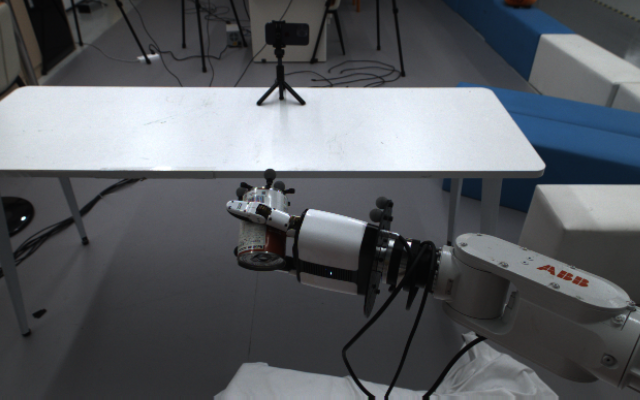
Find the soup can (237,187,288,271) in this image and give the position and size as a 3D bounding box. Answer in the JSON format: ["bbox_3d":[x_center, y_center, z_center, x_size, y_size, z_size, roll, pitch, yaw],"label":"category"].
[{"bbox_3d":[-0.078,0.041,0.679,0.067,0.067,0.101,0,61,-3],"label":"soup can"}]
